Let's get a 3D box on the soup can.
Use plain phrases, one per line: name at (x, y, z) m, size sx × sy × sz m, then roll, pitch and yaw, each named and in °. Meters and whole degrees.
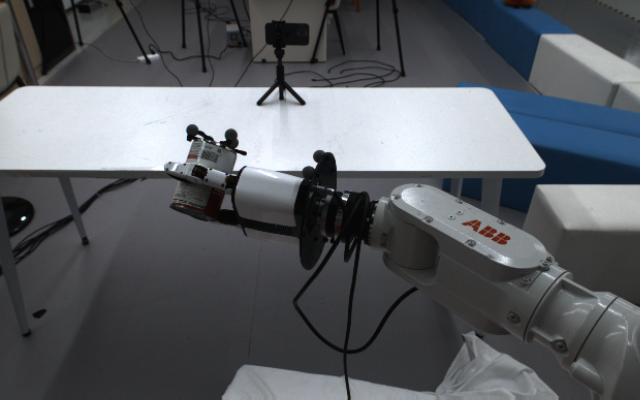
soup can at (-0.164, -0.026, 0.686) m, size 0.067 × 0.067 × 0.101 m, roll 12°, pitch 77°, yaw 14°
